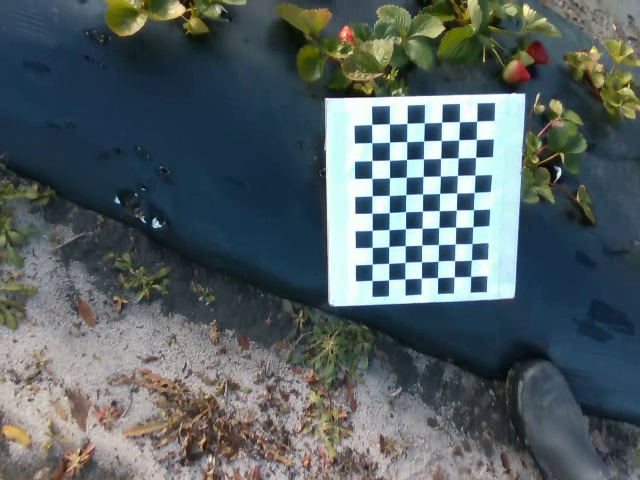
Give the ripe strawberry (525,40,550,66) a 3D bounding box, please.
[{"bbox_3d":[0.421,-0.354,1.148,0.064,0.049,0.050,40,6,-8],"label":"ripe strawberry"}]
